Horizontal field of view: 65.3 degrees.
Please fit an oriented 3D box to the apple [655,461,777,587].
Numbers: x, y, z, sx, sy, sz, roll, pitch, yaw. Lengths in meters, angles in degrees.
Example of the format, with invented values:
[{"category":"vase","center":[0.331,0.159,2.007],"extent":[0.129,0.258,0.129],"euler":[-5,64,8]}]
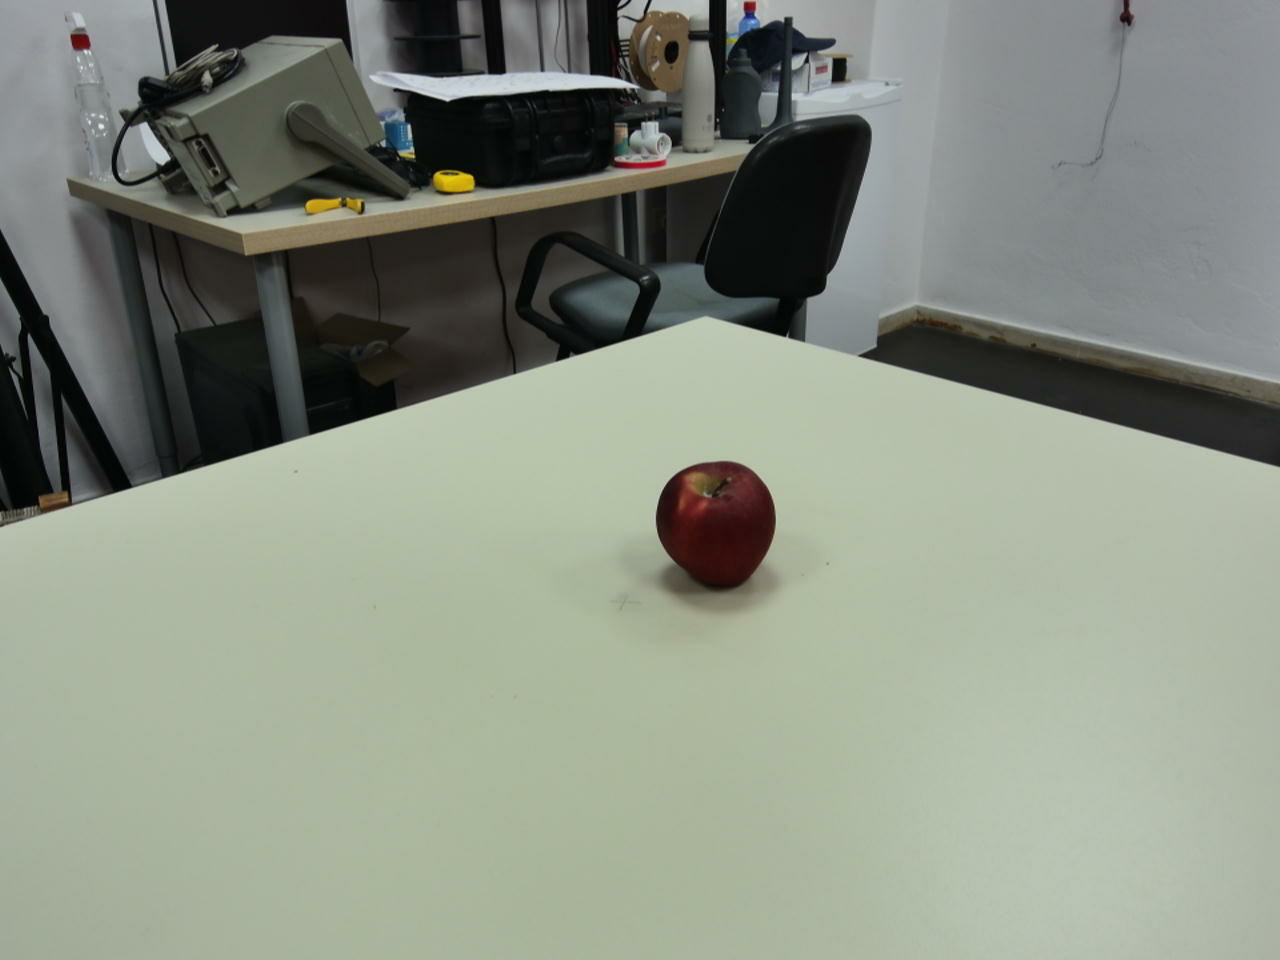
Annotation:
[{"category":"apple","center":[0.045,0.025,0.578],"extent":[0.070,0.072,0.070],"euler":[1,24,0]}]
